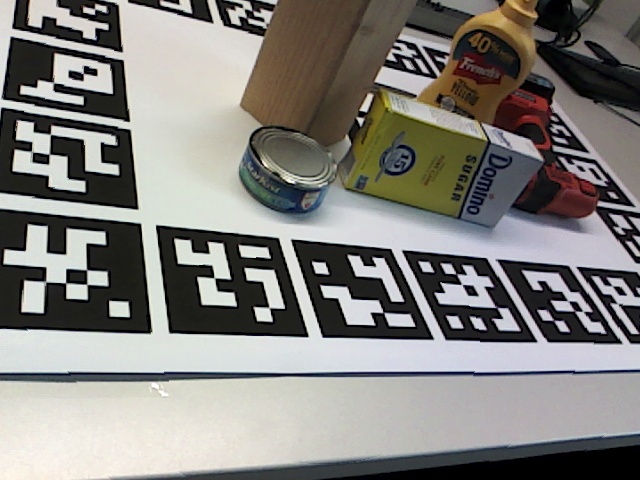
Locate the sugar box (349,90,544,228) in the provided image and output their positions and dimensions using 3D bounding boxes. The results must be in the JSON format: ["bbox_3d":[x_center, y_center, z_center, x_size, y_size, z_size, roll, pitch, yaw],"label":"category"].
[{"bbox_3d":[0.127,-0.077,0.626,0.175,0.093,0.045,15,39,-19],"label":"sugar box"}]

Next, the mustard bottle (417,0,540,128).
[{"bbox_3d":[0.193,-0.200,0.727,0.096,0.191,0.058,40,42,10],"label":"mustard bottle"}]

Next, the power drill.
[{"bbox_3d":[0.225,-0.120,0.754,0.184,0.057,0.187,15,49,-17],"label":"power drill"}]

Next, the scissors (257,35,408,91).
[{"bbox_3d":[0.024,-0.205,0.755,0.201,0.016,0.088,7,41,-25],"label":"scissors"}]

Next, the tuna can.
[{"bbox_3d":[-0.028,-0.068,0.563,0.085,0.034,0.086,17,42,-16],"label":"tuna can"}]

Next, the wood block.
[{"bbox_3d":[0.010,-0.193,0.602,0.090,0.206,0.090,-24,64,-44],"label":"wood block"}]
